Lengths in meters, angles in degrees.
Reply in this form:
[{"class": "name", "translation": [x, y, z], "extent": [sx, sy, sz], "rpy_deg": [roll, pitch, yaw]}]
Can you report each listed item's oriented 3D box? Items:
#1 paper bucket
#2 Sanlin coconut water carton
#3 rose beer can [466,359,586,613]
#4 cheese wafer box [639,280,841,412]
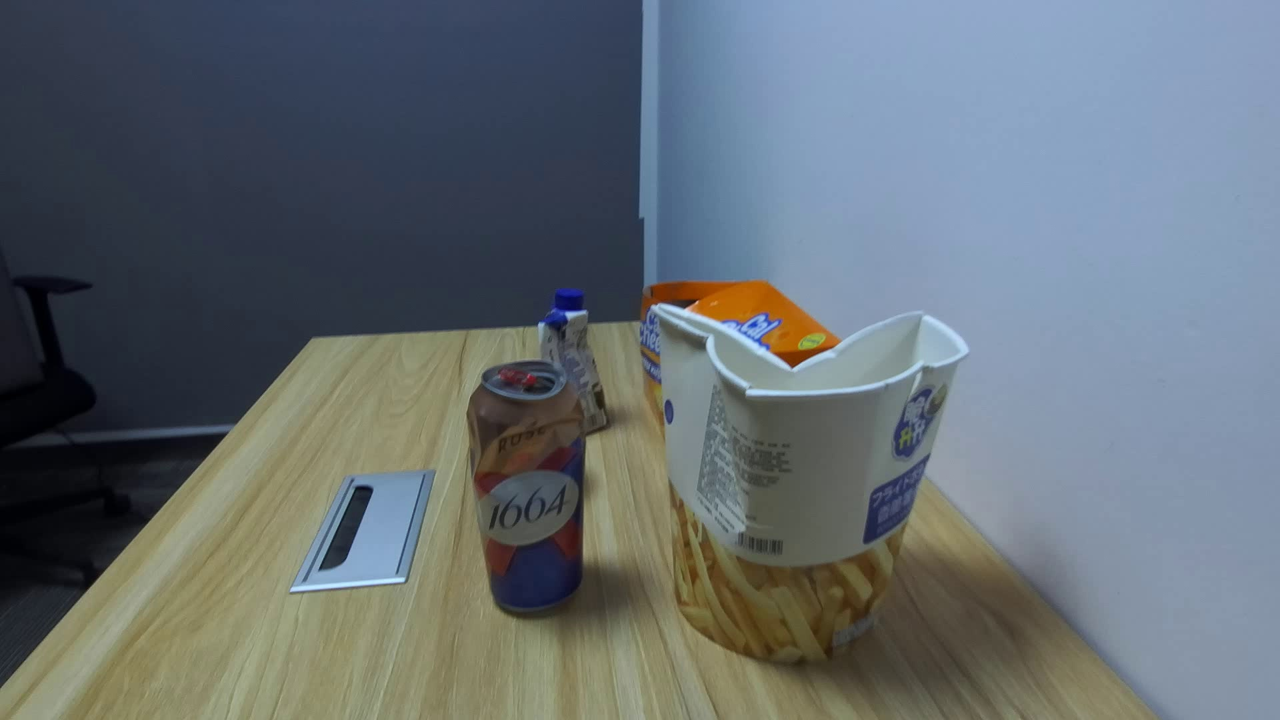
[{"class": "paper bucket", "translation": [0.107, 0.070, 0.472], "extent": [0.163, 0.202, 0.168], "rpy_deg": [-6, 25, -17]}, {"class": "Sanlin coconut water carton", "translation": [-0.078, 0.003, 0.720], "extent": [0.069, 0.145, 0.056], "rpy_deg": [-25, 24, -32]}, {"class": "rose beer can", "translation": [-0.074, 0.088, 0.478], "extent": [0.076, 0.167, 0.065], "rpy_deg": [-6, 24, -18]}, {"class": "cheese wafer box", "translation": [0.092, 0.010, 0.732], "extent": [0.152, 0.132, 0.230], "rpy_deg": [-4, 24, -10]}]
